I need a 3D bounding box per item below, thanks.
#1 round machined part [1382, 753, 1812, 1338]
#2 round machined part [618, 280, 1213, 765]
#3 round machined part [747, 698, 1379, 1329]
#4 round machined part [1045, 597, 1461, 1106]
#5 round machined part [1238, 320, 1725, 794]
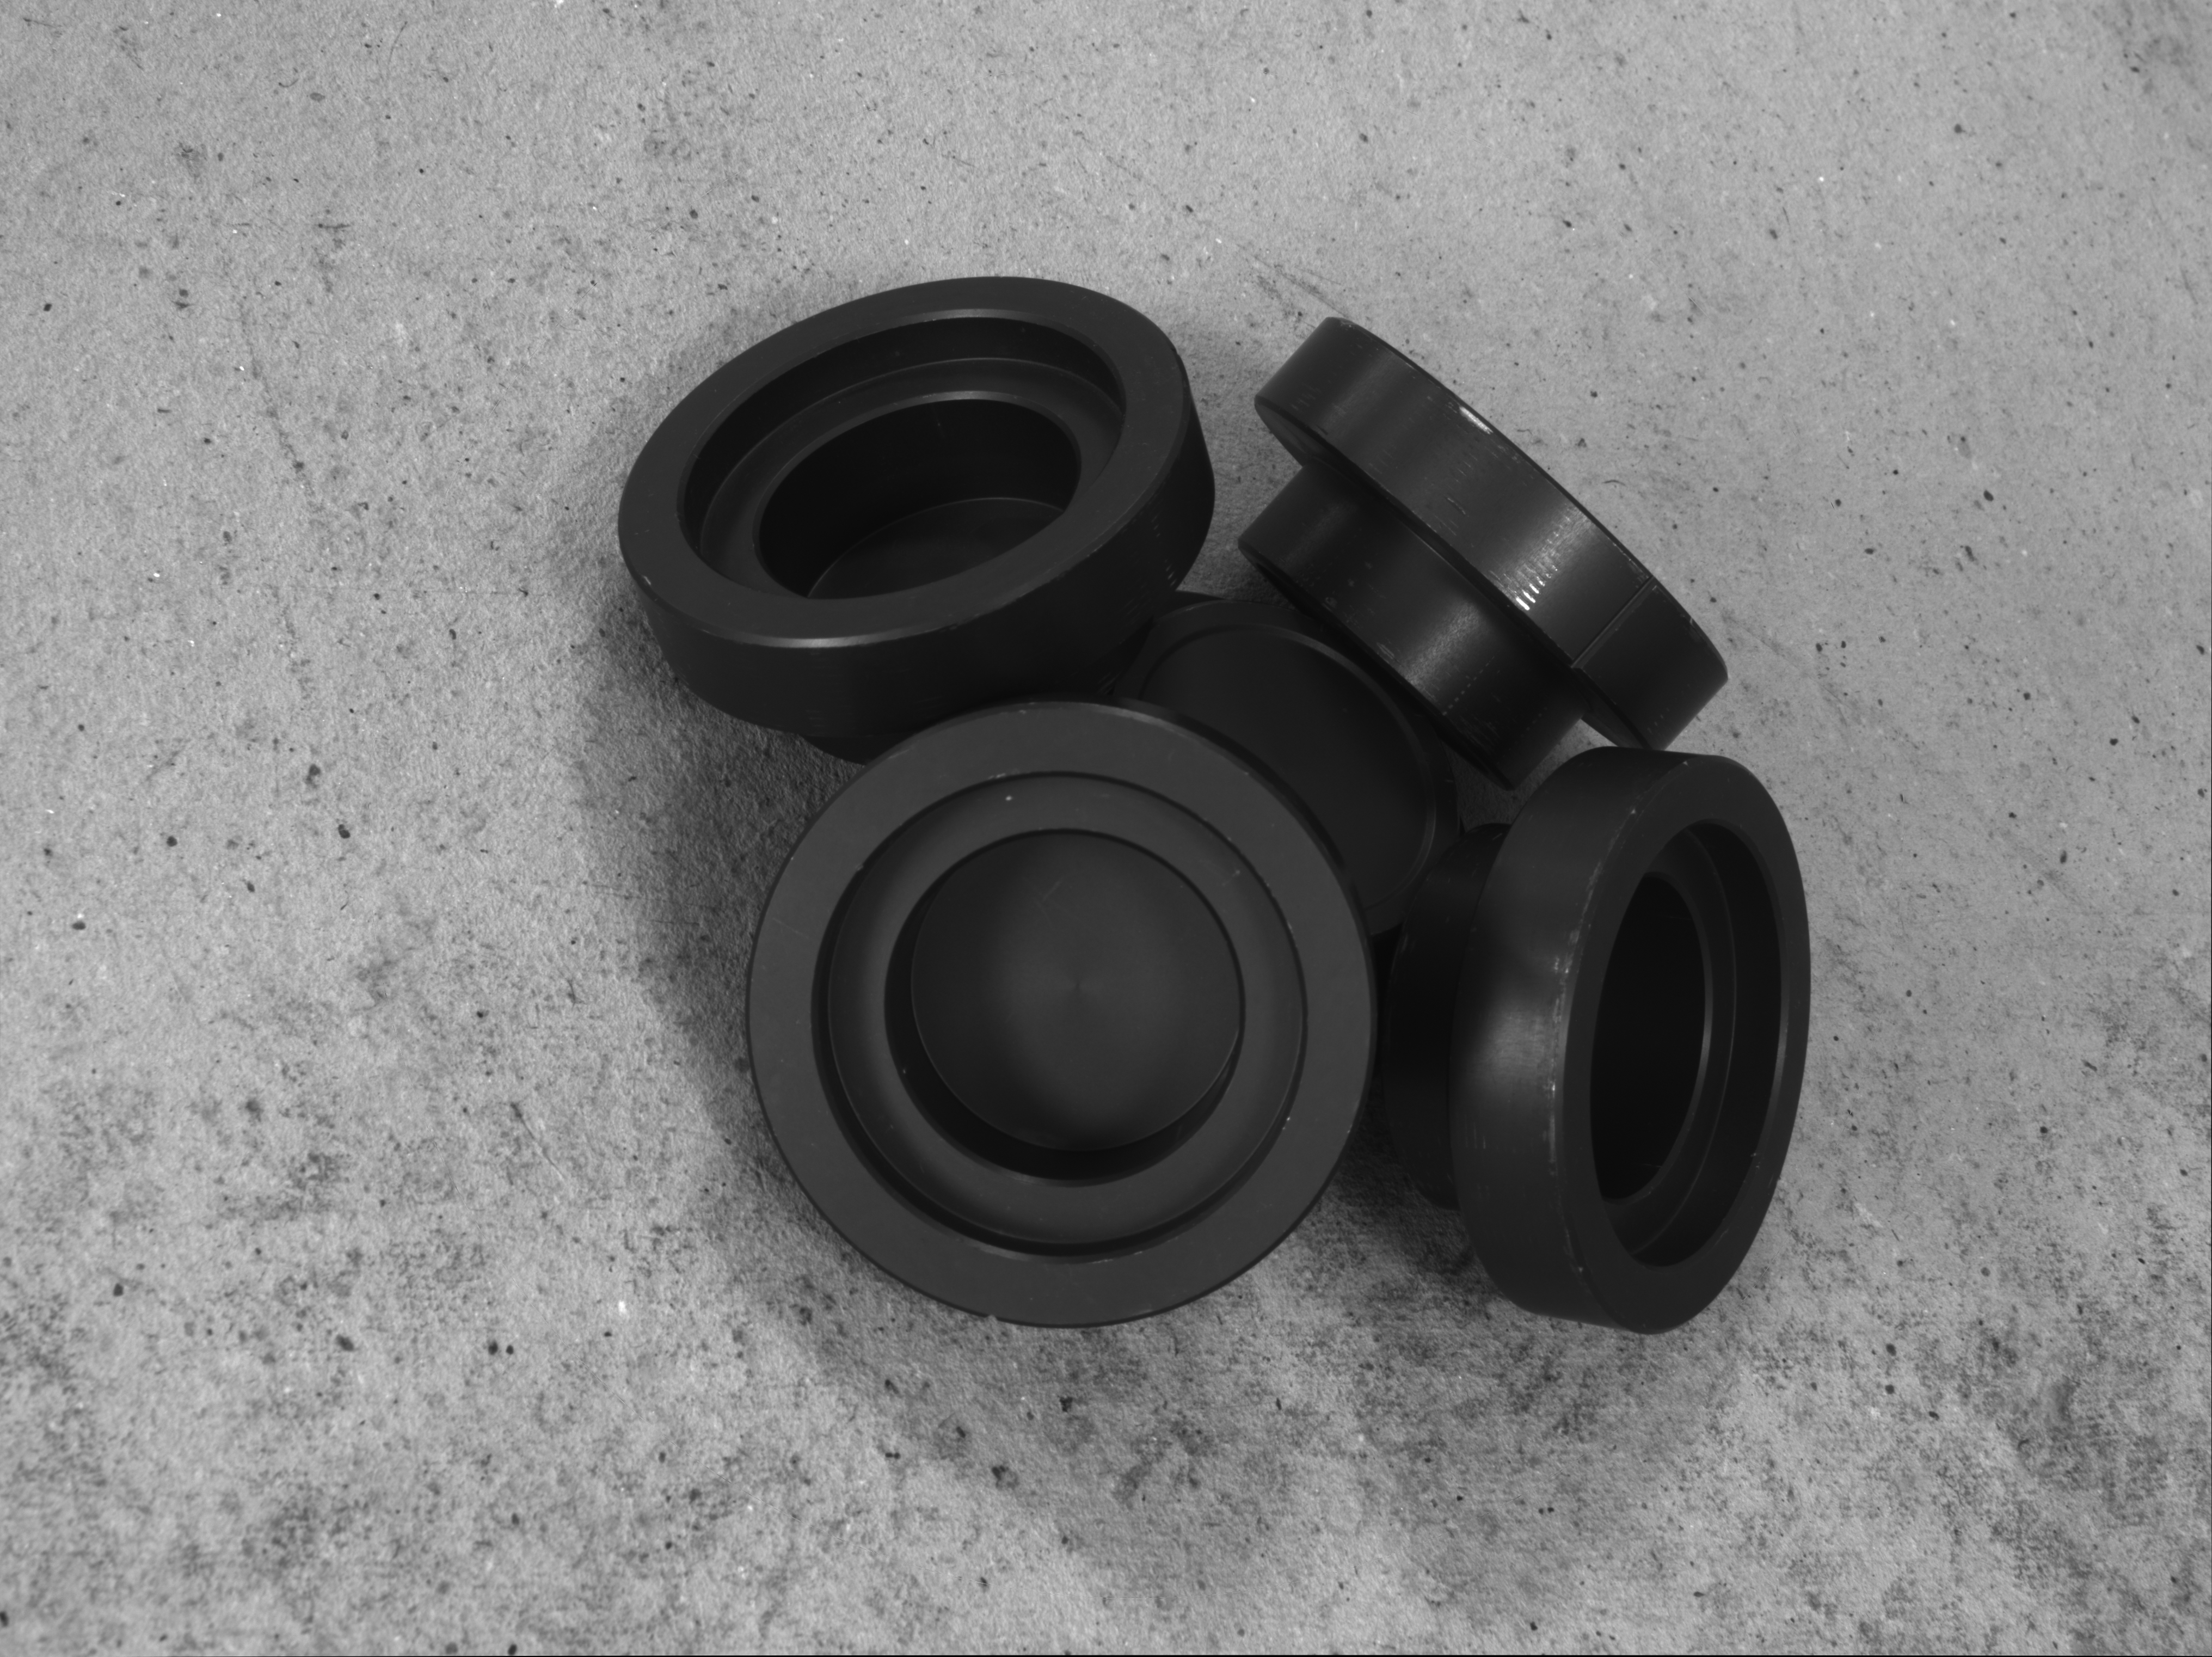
[{"bbox_3d":[0.082,0.036,0.629,0.098,0.042,0.098,-13,106,-55],"label":"round machined part"},{"bbox_3d":[-0.029,-0.047,0.621,0.098,0.042,0.098,-10,41,9],"label":"round machined part"},{"bbox_3d":[-0.005,0.027,0.586,0.098,0.098,0.042,40,7,-1],"label":"round machined part"},{"bbox_3d":[0.022,-0.001,0.640,0.098,0.042,0.098,15,54,-21],"label":"round machined part"},{"bbox_3d":[0.062,-0.044,0.666,0.098,0.098,0.042,42,92,1],"label":"round machined part"}]
